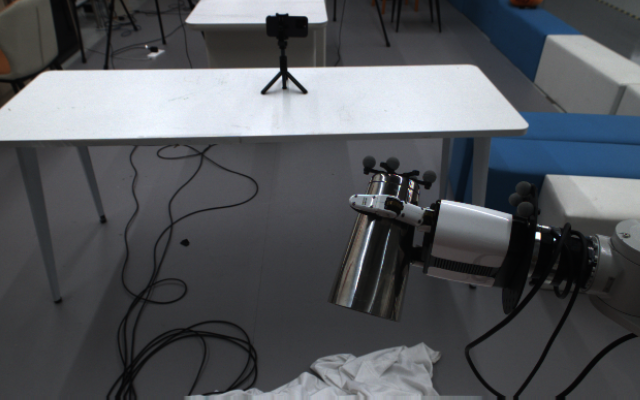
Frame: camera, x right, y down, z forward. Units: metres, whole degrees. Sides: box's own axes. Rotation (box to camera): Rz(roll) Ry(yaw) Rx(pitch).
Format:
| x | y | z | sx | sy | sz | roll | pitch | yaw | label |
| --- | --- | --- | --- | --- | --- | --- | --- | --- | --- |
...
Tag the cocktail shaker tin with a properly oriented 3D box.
| x | y | z | sx | sy | sz | roll | pitch | yaw | label |
| --- | --- | --- | --- | --- | --- | --- | --- | --- | --- |
| 0.078 | 0.054 | 0.607 | 0.093 | 0.093 | 0.170 | 13 | 76 | 15 | cocktail shaker tin |
